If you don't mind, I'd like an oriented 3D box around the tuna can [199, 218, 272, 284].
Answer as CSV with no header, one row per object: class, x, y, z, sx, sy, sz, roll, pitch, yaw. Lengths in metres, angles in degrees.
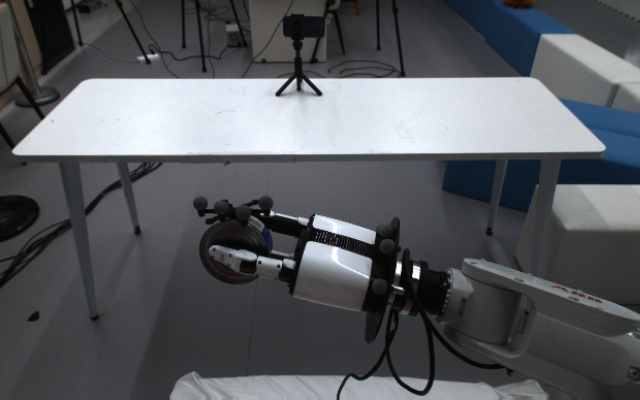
tuna can,-0.100,0.064,0.596,0.085,0.085,0.034,4,18,3
